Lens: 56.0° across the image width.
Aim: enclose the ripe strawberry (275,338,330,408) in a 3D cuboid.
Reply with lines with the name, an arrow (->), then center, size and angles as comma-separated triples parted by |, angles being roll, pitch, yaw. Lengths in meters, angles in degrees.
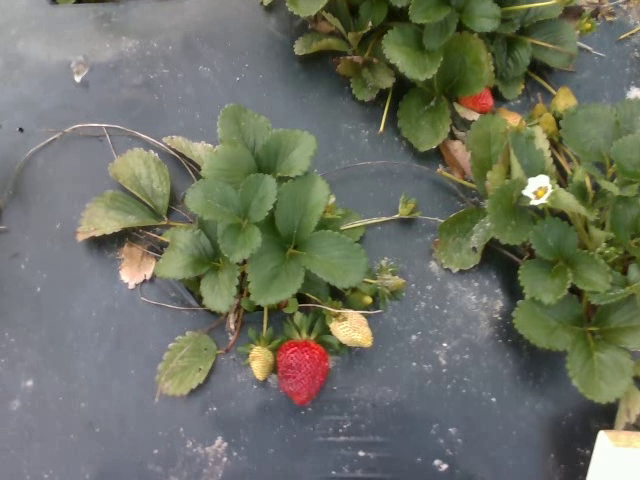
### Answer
ripe strawberry -> -0.014, 0.106, 0.451 | 0.046, 0.046, 0.059 | 0, 40, 3
